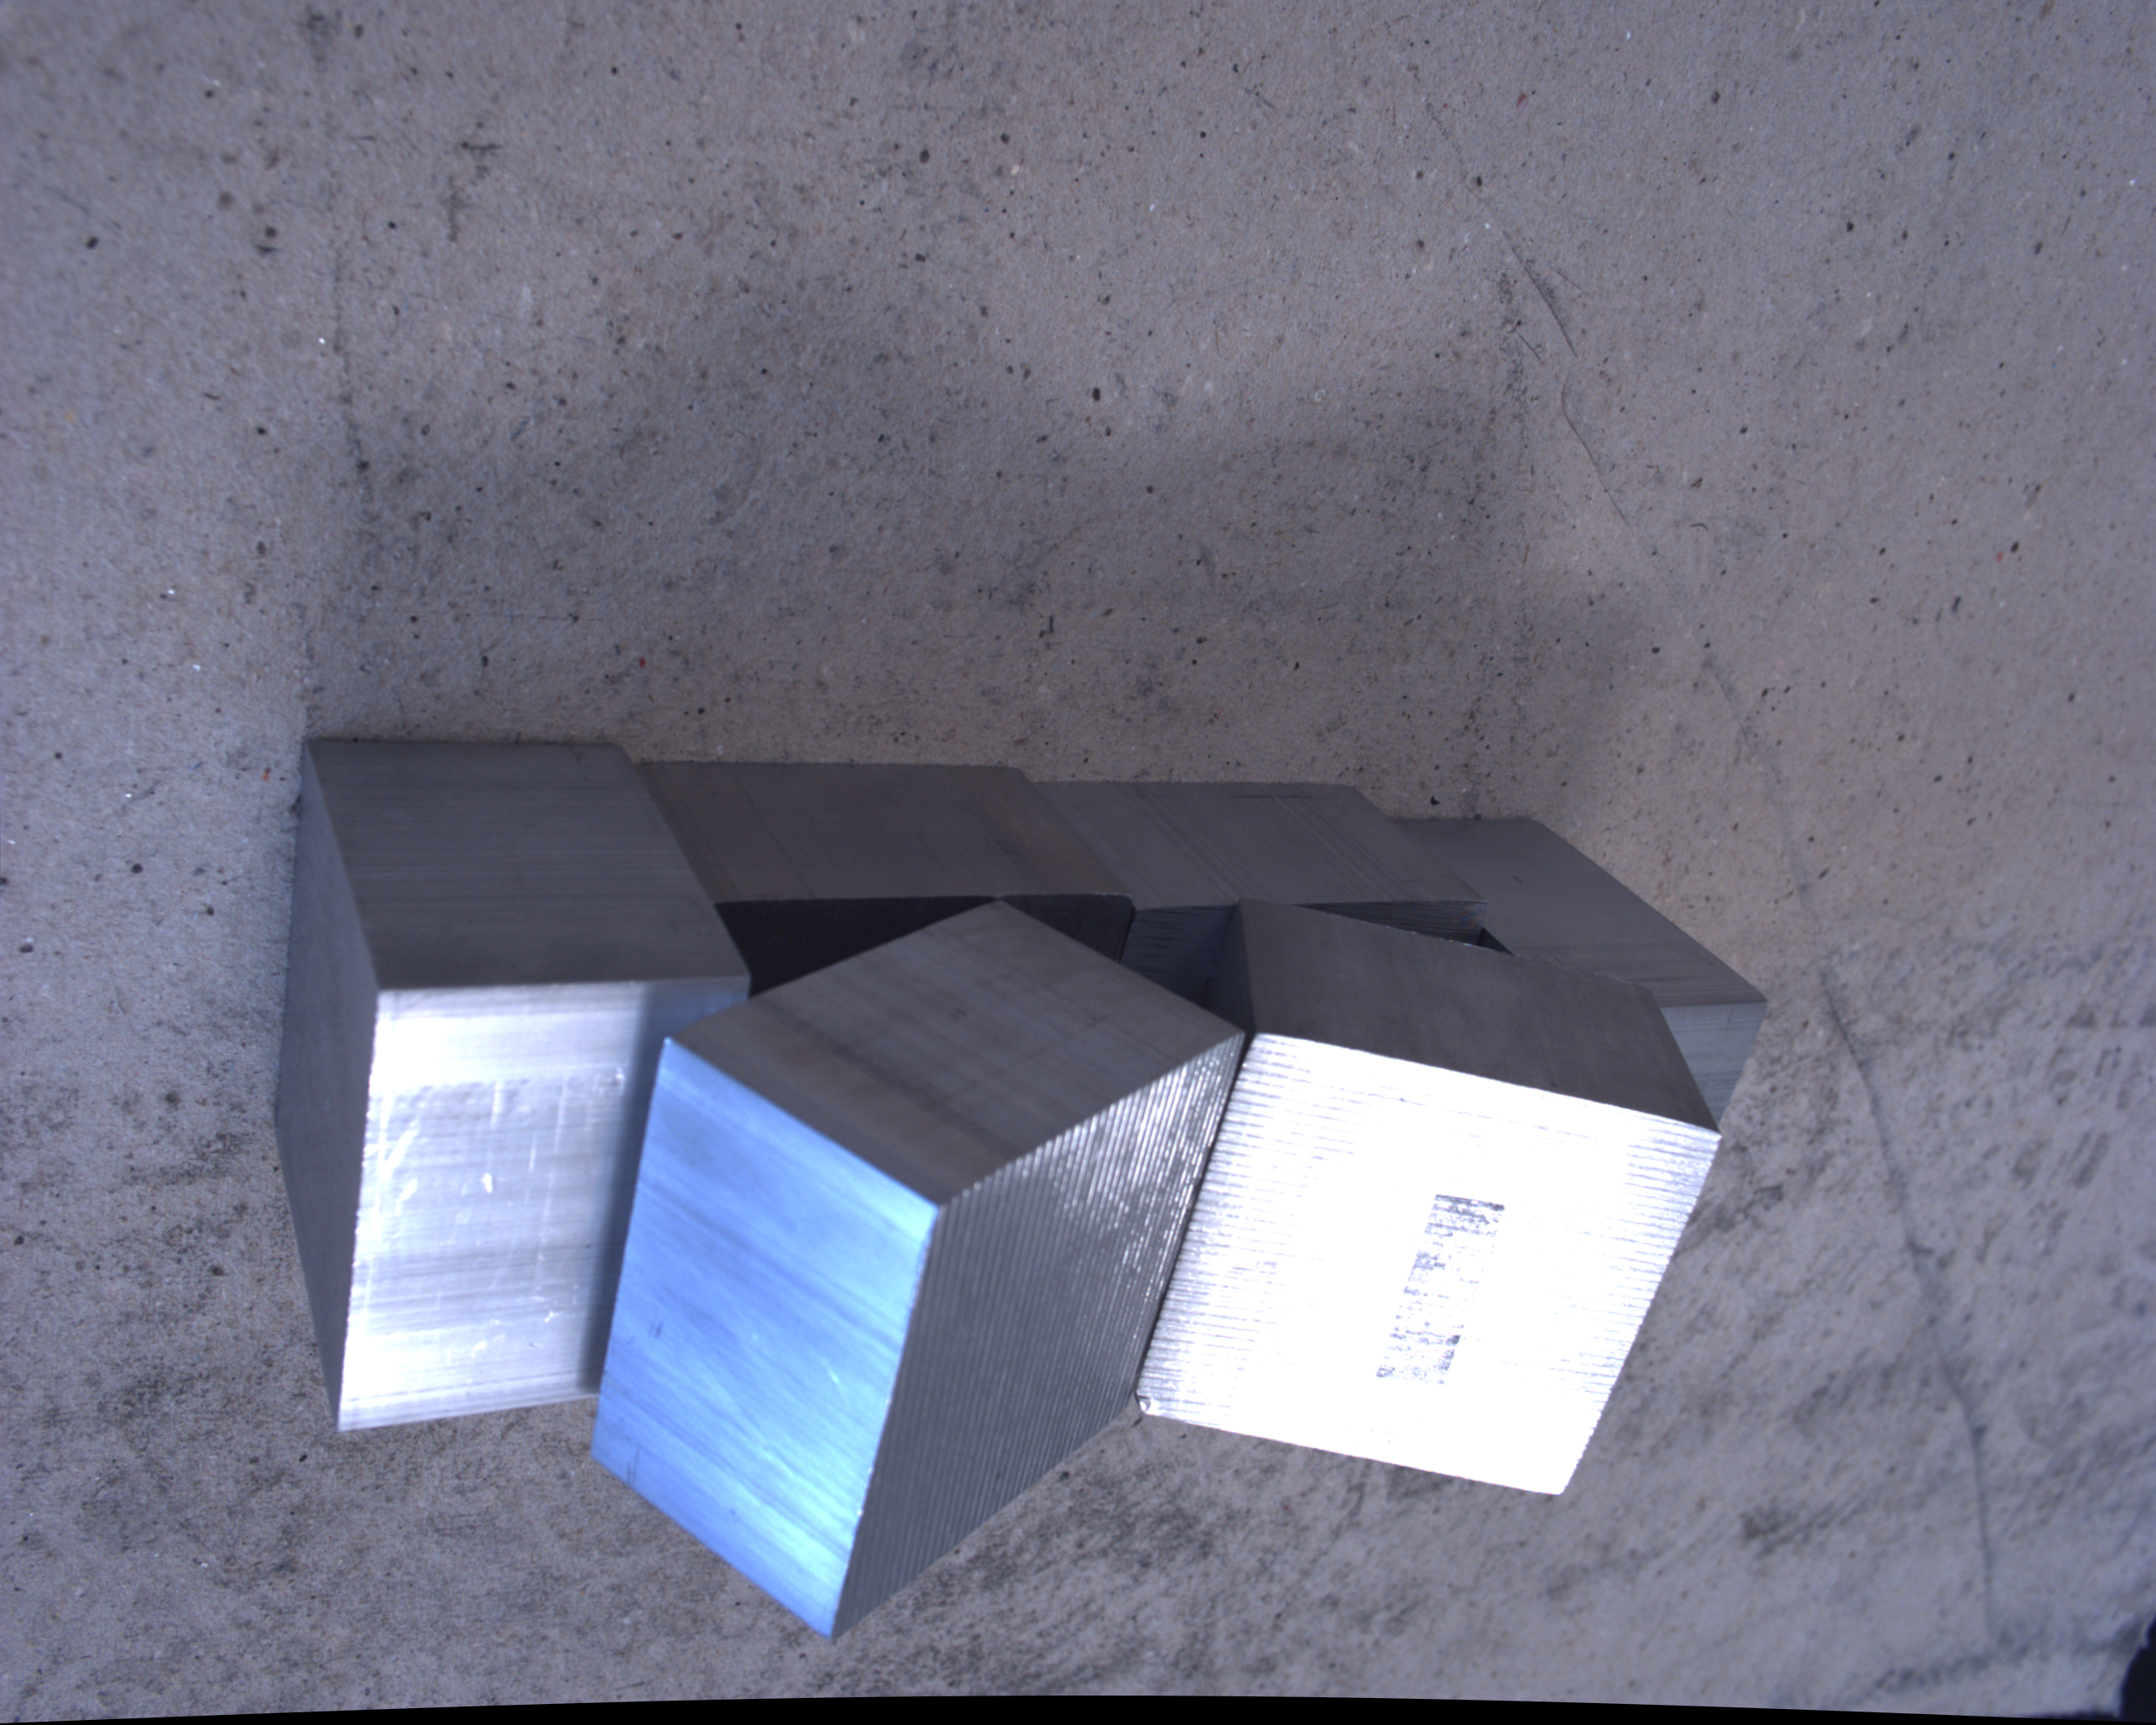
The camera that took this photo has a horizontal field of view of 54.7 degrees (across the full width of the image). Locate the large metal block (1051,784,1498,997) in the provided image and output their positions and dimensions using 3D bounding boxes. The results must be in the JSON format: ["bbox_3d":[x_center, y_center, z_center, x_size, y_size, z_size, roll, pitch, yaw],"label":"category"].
[{"bbox_3d":[0.027,0.031,0.425,0.081,0.050,0.079,0,119,-29],"label":"large metal block"}]

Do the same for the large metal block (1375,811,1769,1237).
[{"bbox_3d":[0.089,0.043,0.449,0.050,0.080,0.079,-1,119,-29],"label":"large metal block"}]

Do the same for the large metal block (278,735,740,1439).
[{"bbox_3d":[-0.096,0.032,0.339,0.050,0.080,0.079,0,117,-28],"label":"large metal block"}]

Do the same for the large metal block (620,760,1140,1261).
[{"bbox_3d":[-0.044,0.029,0.385,0.081,0.050,0.079,0,119,-29],"label":"large metal block"}]

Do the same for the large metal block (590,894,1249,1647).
[{"bbox_3d":[-0.024,0.060,0.330,0.081,0.050,0.079,-22,133,-53],"label":"large metal block"}]

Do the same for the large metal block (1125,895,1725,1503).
[{"bbox_3d":[0.057,0.060,0.376,0.080,0.050,0.079,13,114,-5],"label":"large metal block"}]
